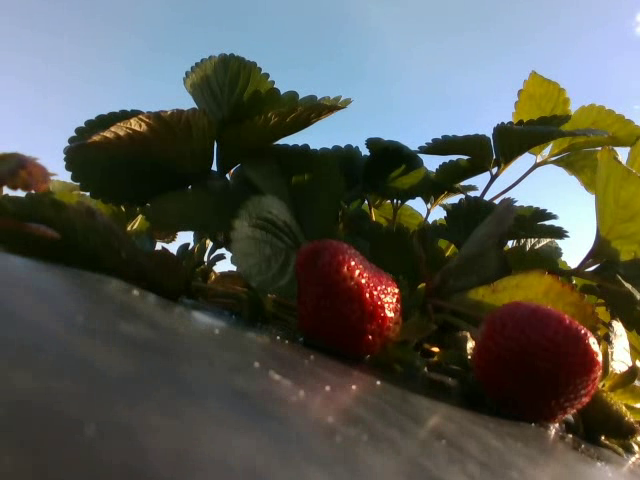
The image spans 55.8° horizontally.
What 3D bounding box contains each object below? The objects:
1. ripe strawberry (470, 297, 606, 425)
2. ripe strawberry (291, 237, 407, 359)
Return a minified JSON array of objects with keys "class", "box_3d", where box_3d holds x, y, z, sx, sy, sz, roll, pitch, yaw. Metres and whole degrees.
[{"class":"ripe strawberry","box_3d":[0.072,0.034,0.190,0.043,0.039,0.053,37,-24,2]},{"class":"ripe strawberry","box_3d":[0.010,0.021,0.221,0.039,0.054,0.048,-32,29,5]}]
